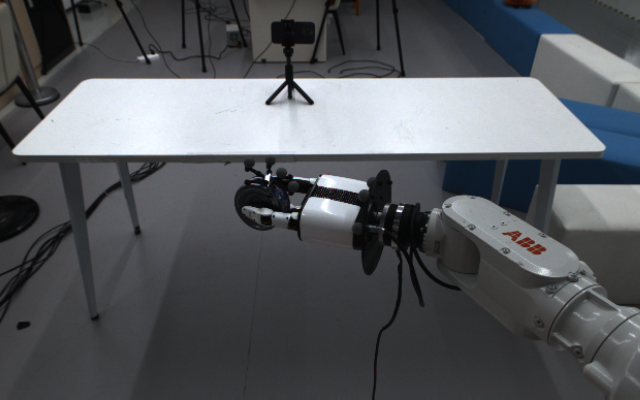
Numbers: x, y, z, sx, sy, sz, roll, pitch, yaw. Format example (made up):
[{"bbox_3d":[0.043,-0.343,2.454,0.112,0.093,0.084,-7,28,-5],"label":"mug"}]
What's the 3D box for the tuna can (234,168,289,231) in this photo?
[{"bbox_3d":[-0.091,0.012,0.772,0.085,0.085,0.034,15,30,18],"label":"tuna can"}]
